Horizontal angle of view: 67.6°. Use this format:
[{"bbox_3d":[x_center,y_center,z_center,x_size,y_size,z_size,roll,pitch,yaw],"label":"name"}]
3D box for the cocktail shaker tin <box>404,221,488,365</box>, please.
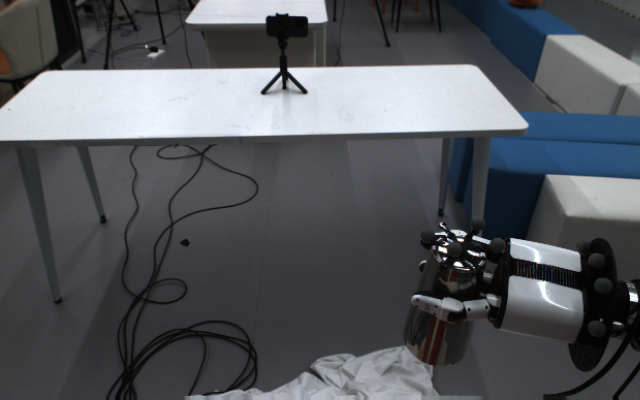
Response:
[{"bbox_3d":[0.170,0.125,0.636,0.093,0.170,0.093,1,39,0],"label":"cocktail shaker tin"}]
